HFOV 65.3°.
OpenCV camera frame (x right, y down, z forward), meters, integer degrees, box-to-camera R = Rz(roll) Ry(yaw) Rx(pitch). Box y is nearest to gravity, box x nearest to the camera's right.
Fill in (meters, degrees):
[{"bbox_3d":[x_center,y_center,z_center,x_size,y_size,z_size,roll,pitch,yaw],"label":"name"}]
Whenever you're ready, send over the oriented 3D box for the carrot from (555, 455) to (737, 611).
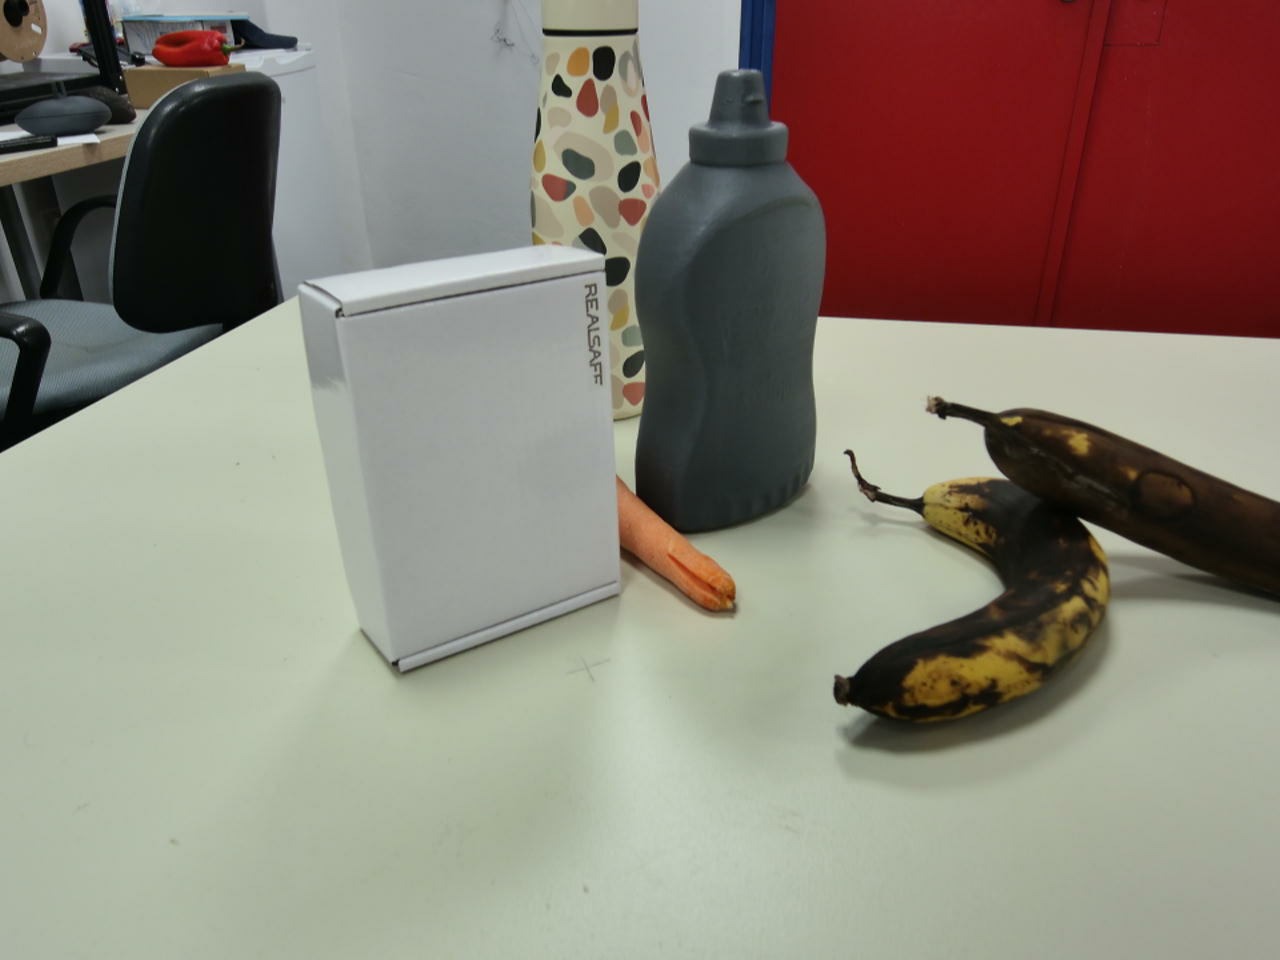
[{"bbox_3d":[-0.001,0.021,0.464,0.030,0.032,0.136,-14,28,-29],"label":"carrot"}]
